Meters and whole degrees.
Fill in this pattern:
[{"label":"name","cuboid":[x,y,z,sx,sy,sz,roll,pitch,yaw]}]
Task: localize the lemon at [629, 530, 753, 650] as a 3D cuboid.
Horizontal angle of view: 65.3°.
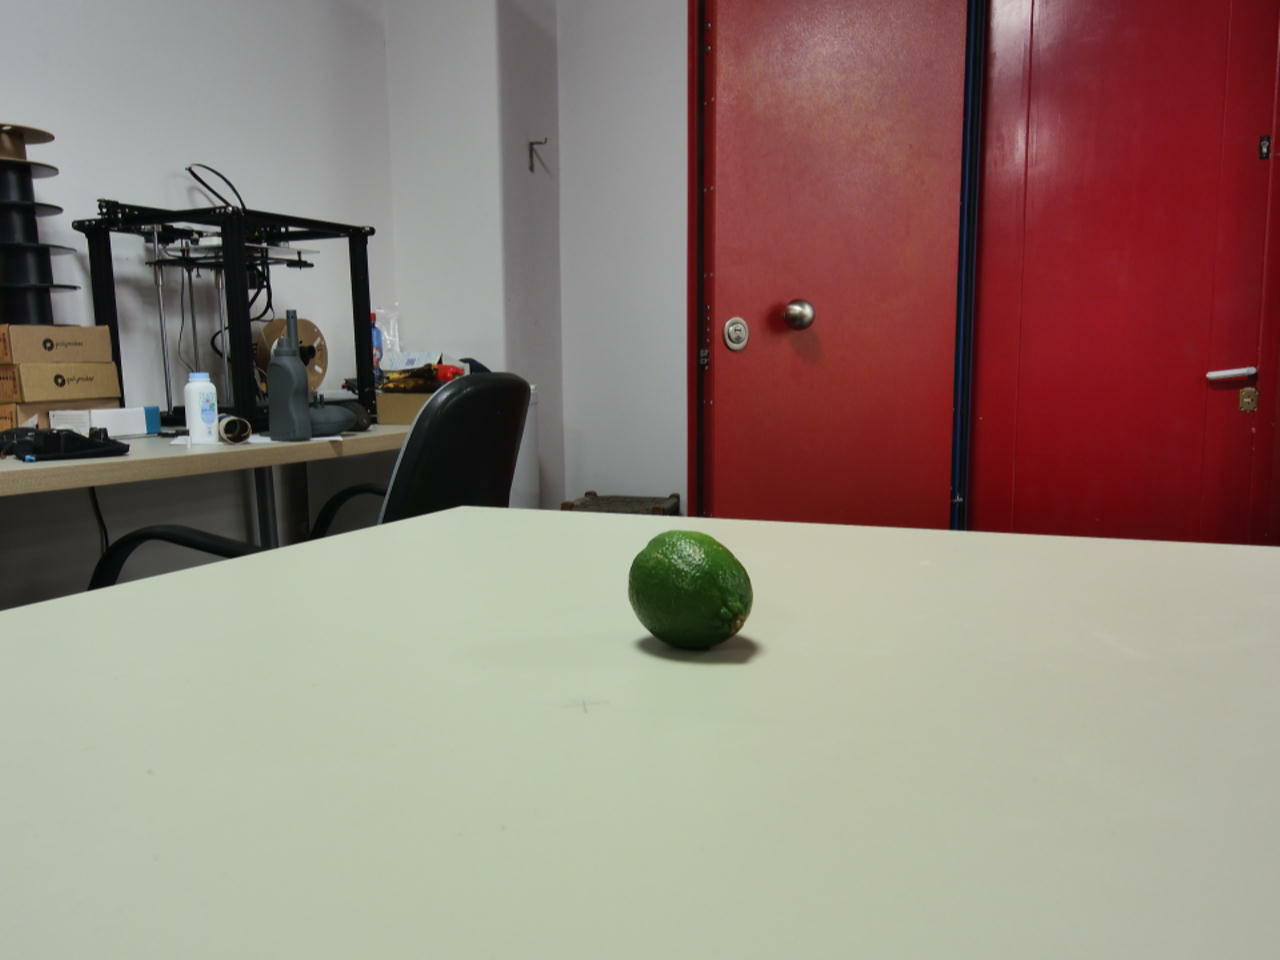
[{"label":"lemon","cuboid":[0.023,0.048,0.447,0.057,0.051,0.054,1,4,21]}]
